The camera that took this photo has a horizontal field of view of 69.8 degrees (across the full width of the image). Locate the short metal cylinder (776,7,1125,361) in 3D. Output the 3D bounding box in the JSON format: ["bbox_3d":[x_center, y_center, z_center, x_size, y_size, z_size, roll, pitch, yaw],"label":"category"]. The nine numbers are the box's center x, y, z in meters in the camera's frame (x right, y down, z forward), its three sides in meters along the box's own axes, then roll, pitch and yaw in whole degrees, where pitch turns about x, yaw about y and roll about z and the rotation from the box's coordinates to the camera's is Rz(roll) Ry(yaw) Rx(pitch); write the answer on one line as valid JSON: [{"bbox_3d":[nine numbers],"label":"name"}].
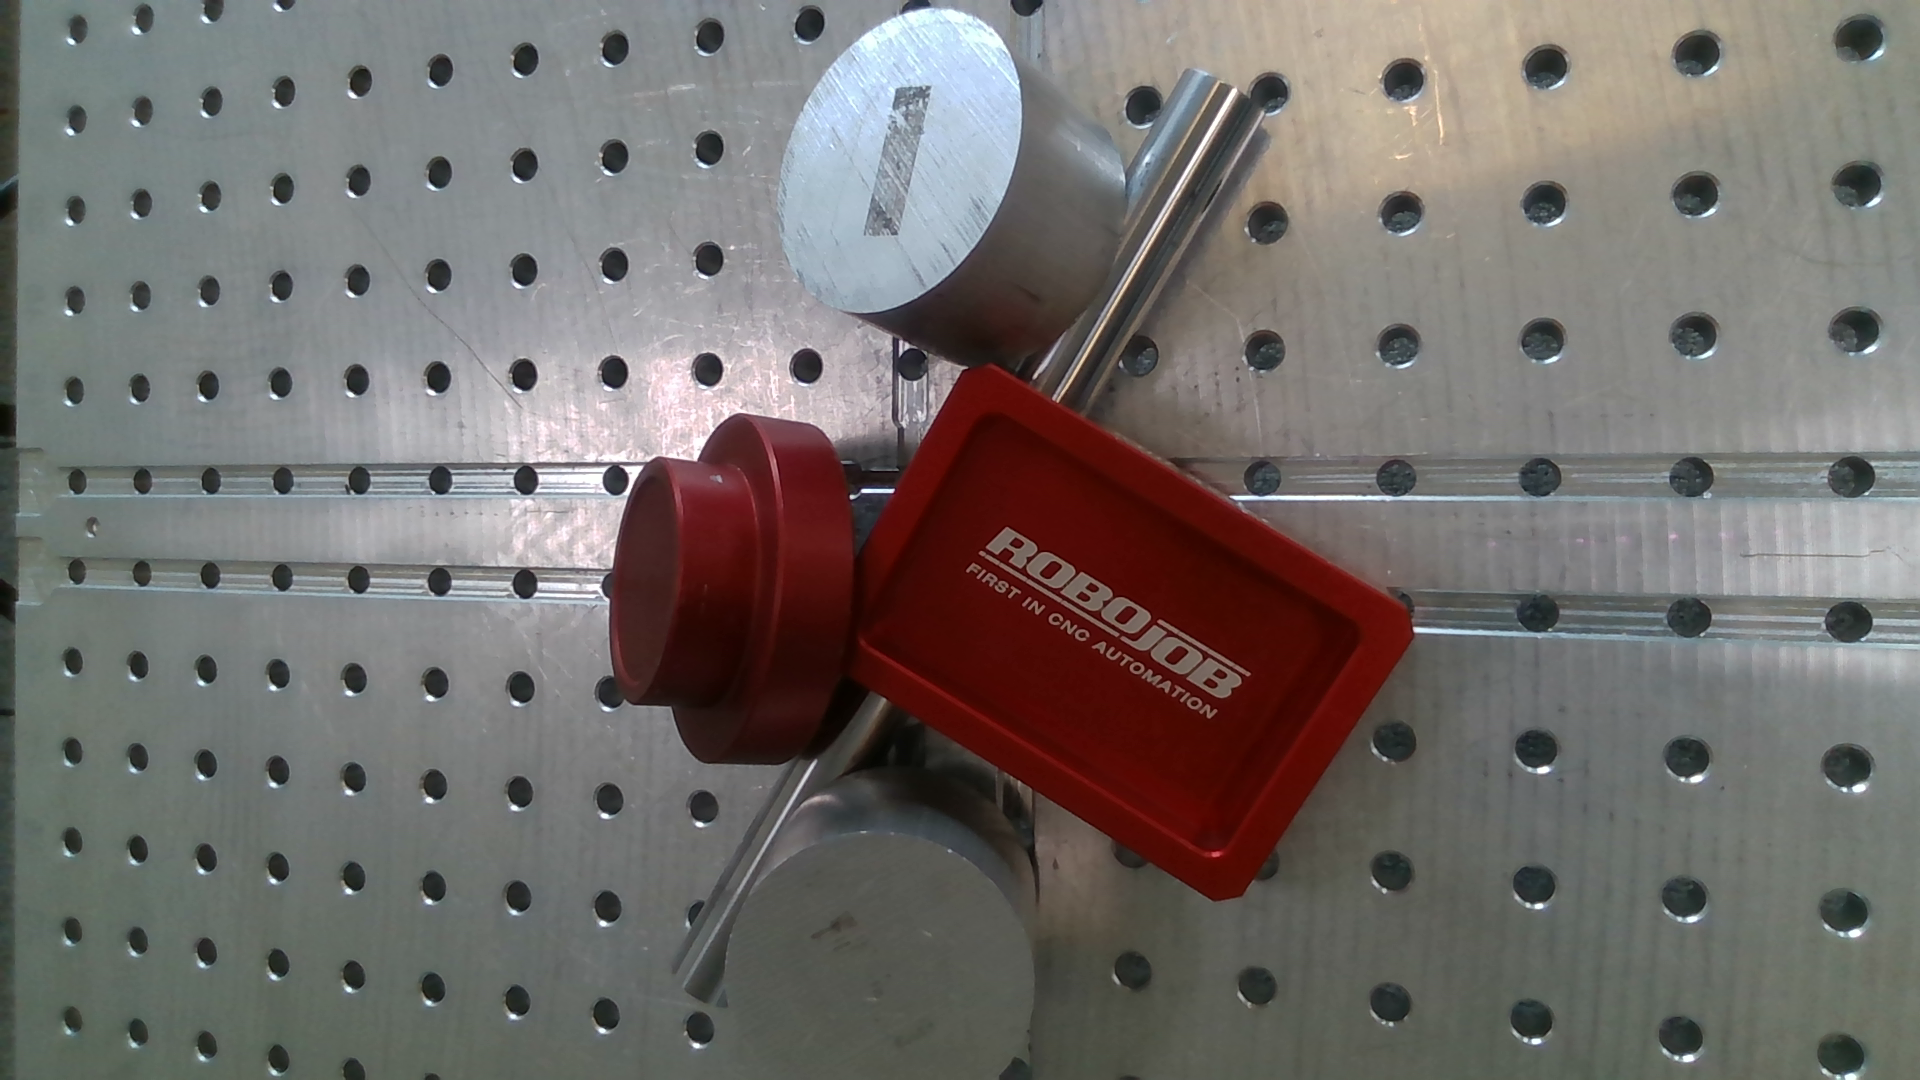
[{"bbox_3d":[-0.003,-0.093,0.371,0.080,0.050,0.080,-9,75,35],"label":"short metal cylinder"}]

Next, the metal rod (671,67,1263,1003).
[{"bbox_3d":[-0.003,0.007,0.398,0.025,0.025,0.300,33,101,17],"label":"metal rod"}]

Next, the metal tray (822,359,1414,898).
[{"bbox_3d":[0.038,0.022,0.364,0.130,0.030,0.090,31,101,4],"label":"metal tray"}]

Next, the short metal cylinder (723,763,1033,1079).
[{"bbox_3d":[-0.020,0.108,0.379,0.080,0.050,0.080,1,101,3],"label":"short metal cylinder"}]

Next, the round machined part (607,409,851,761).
[{"bbox_3d":[-0.069,0.012,0.384,0.098,0.042,0.098,-21,66,60],"label":"round machined part"}]
